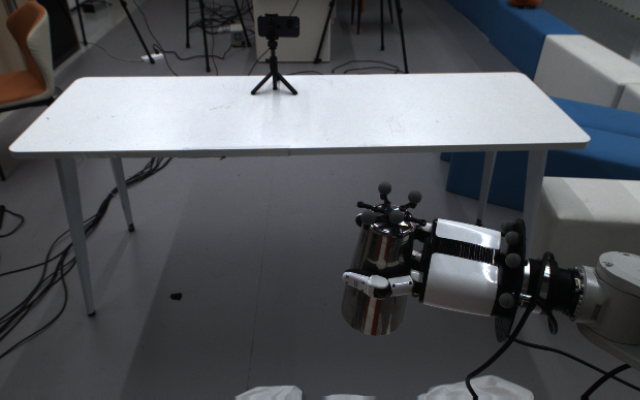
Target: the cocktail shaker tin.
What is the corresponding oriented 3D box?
[{"bbox_3d":[0.085,0.091,0.657,0.093,0.170,0.093,3,36,-2],"label":"cocktail shaker tin"}]
